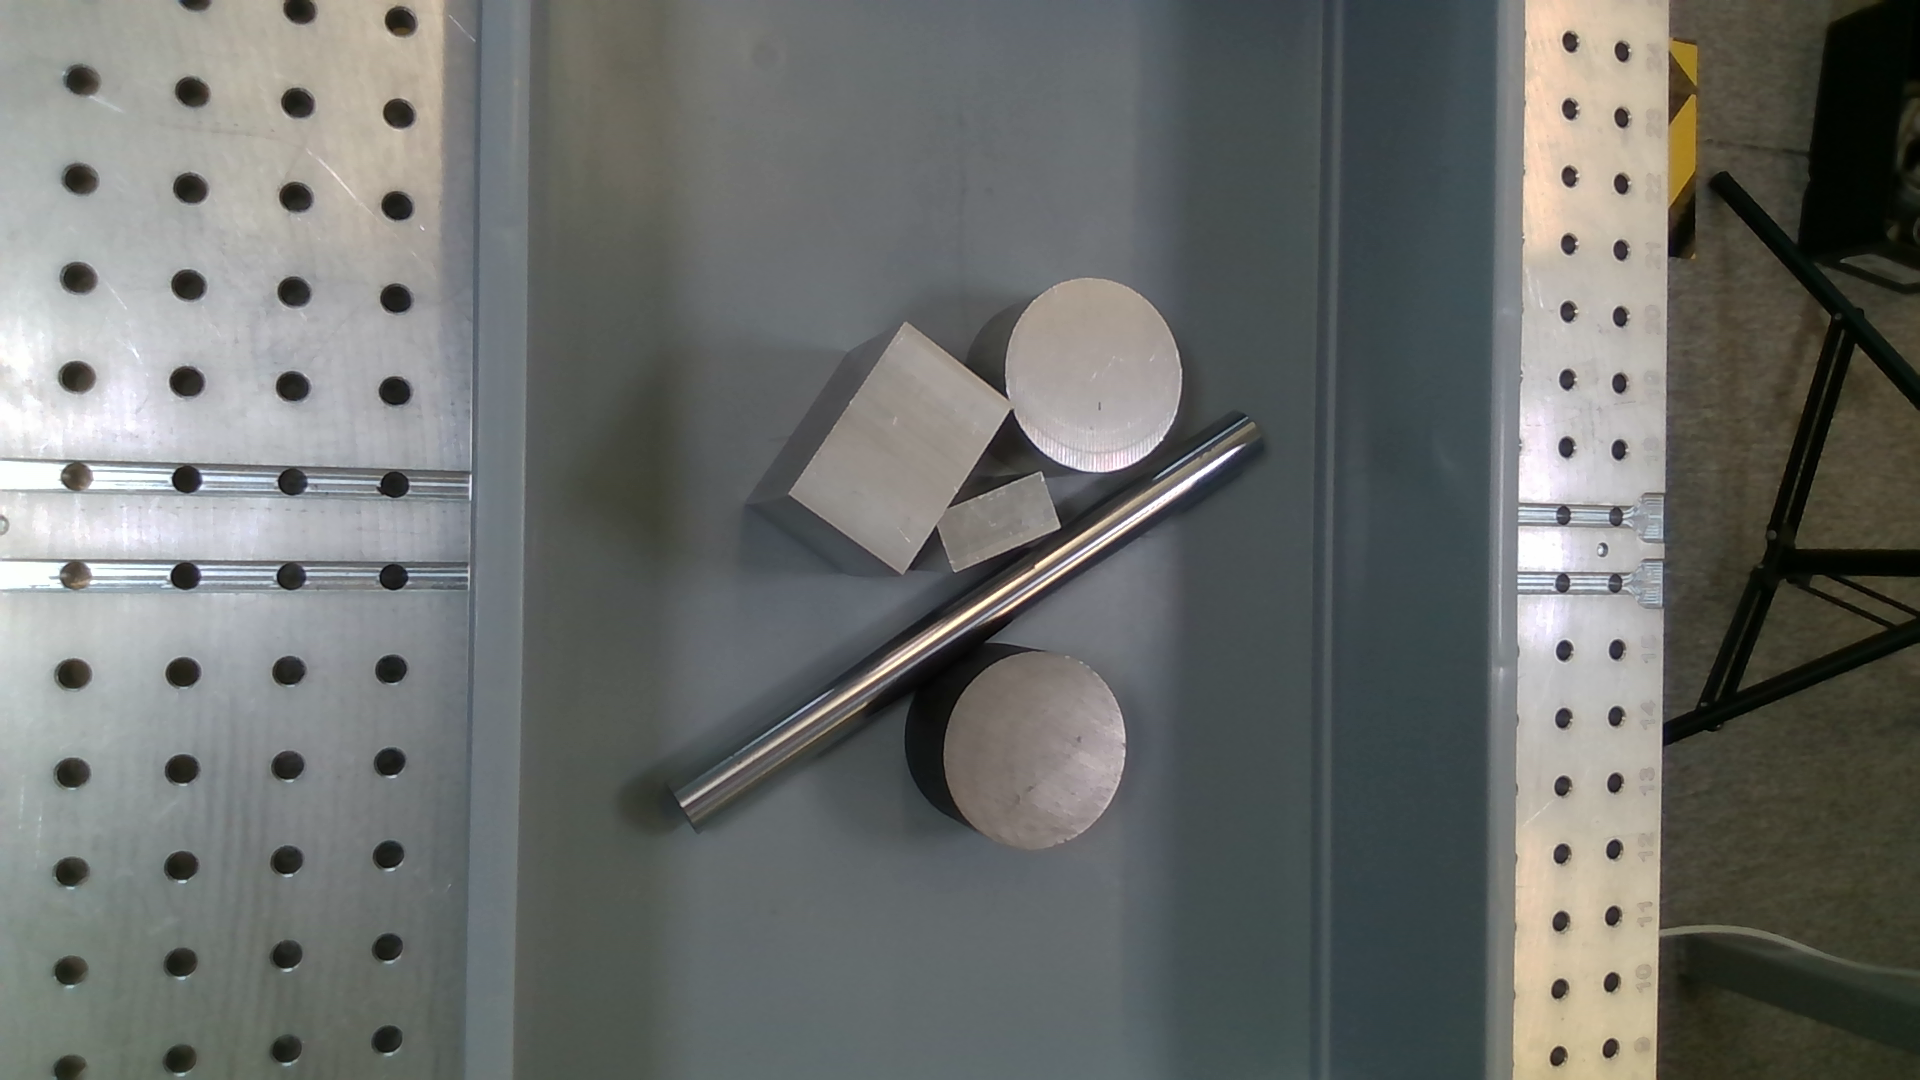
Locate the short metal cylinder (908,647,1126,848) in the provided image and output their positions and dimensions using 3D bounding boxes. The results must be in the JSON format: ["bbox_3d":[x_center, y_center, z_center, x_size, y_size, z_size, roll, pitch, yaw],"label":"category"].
[{"bbox_3d":[0.023,0.085,0.581,0.080,0.050,0.080,0,90,-20],"label":"short metal cylinder"}]

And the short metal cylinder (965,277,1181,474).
[{"bbox_3d":[0.047,-0.068,0.589,0.080,0.050,0.080,0,90,-20],"label":"short metal cylinder"}]

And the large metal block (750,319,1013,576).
[{"bbox_3d":[-0.034,-0.033,0.542,0.050,0.080,0.080,36,78,-16],"label":"large metal block"}]

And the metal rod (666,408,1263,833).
[{"bbox_3d":[0.010,0.028,0.589,0.300,0.025,0.025,-33,101,-17],"label":"metal rod"}]

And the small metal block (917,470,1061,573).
[{"bbox_3d":[0.006,-0.008,0.574,0.050,0.050,0.025,-23,98,-19],"label":"small metal block"}]
